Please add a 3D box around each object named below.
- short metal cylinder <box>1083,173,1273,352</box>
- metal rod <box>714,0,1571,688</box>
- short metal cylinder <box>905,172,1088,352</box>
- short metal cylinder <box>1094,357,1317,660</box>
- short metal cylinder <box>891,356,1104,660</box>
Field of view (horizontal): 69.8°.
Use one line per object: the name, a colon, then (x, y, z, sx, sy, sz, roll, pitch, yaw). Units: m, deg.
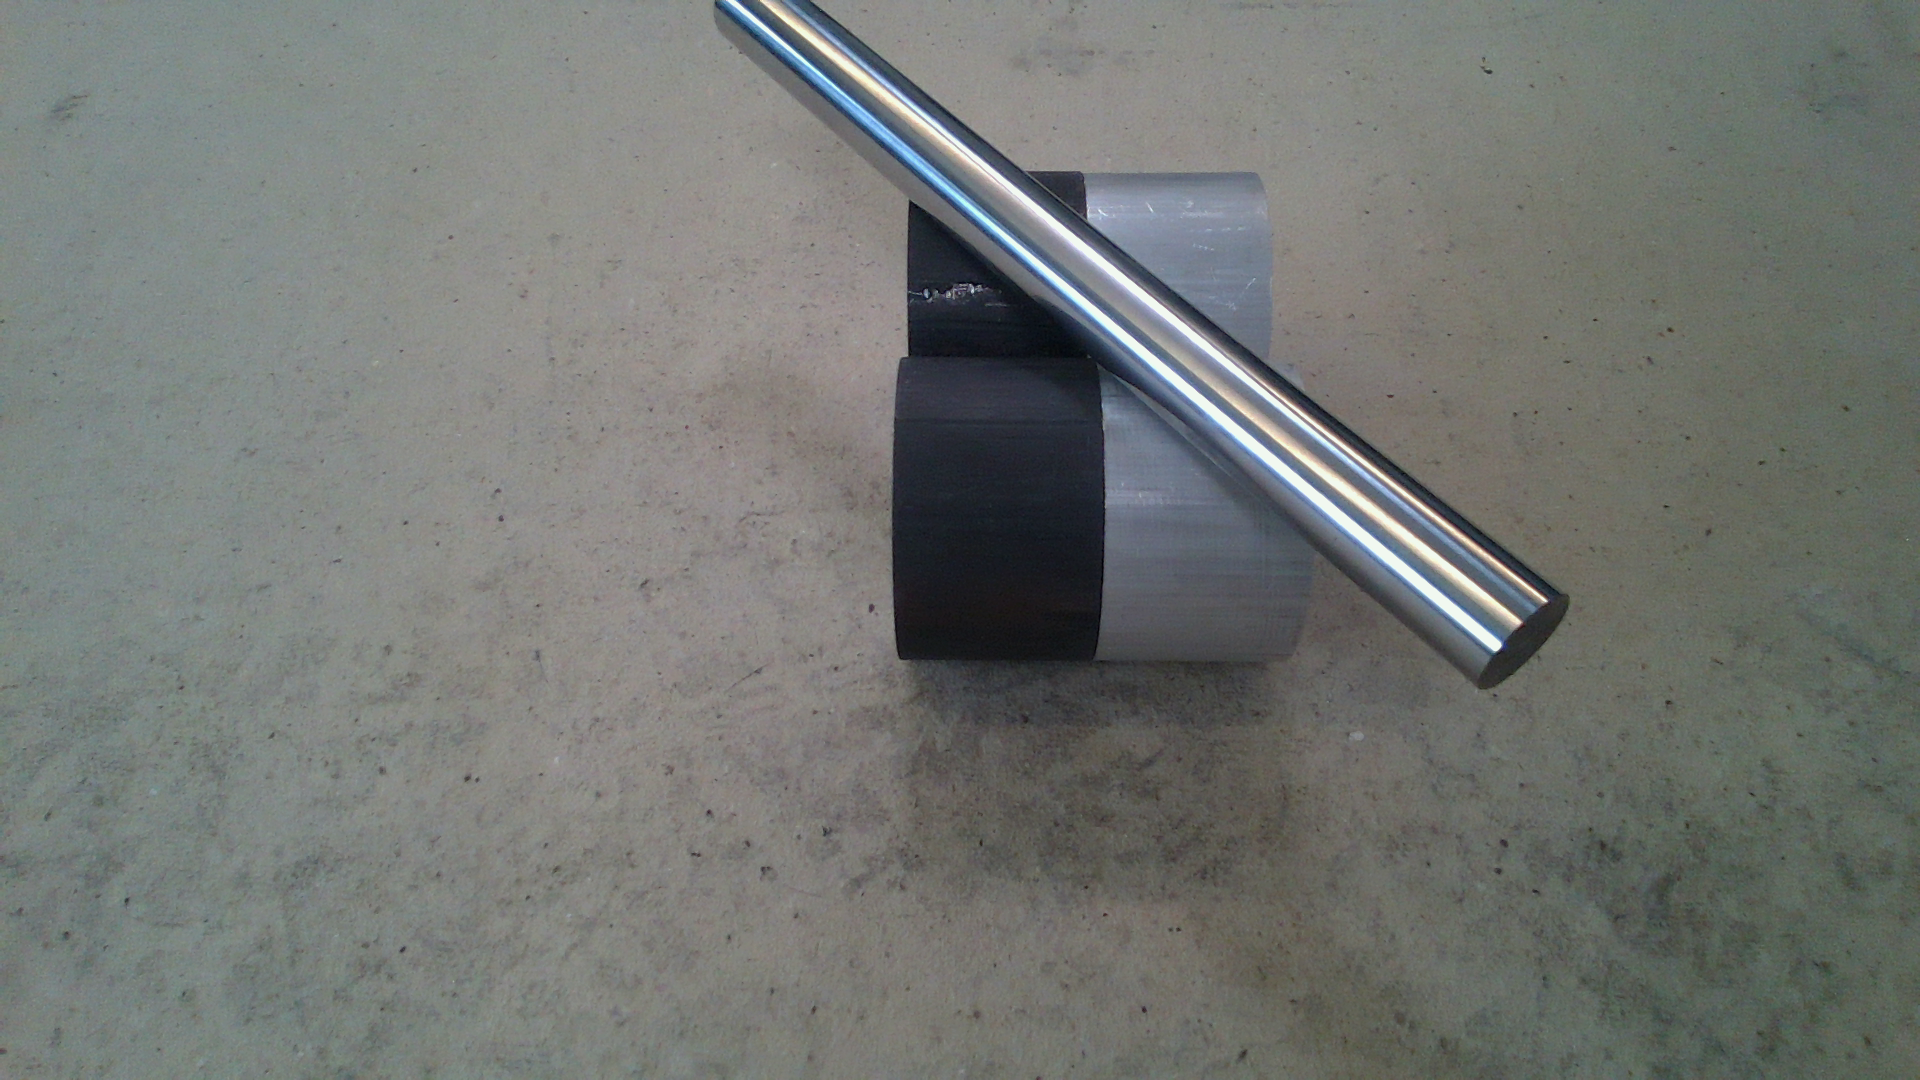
short metal cylinder: (0.061, -0.069, 0.415, 0.050, 0.080, 0.080, 1, 50, 1)
metal rod: (0.023, -0.073, 0.348, 0.025, 0.025, 0.299, -29, 56, -22)
short metal cylinder: (0.011, -0.070, 0.415, 0.050, 0.080, 0.080, 1, 50, 1)
short metal cylinder: (0.060, -0.008, 0.363, 0.050, 0.080, 0.080, 1, 50, 1)
short metal cylinder: (0.009, -0.008, 0.363, 0.050, 0.080, 0.080, 1, 50, 1)
